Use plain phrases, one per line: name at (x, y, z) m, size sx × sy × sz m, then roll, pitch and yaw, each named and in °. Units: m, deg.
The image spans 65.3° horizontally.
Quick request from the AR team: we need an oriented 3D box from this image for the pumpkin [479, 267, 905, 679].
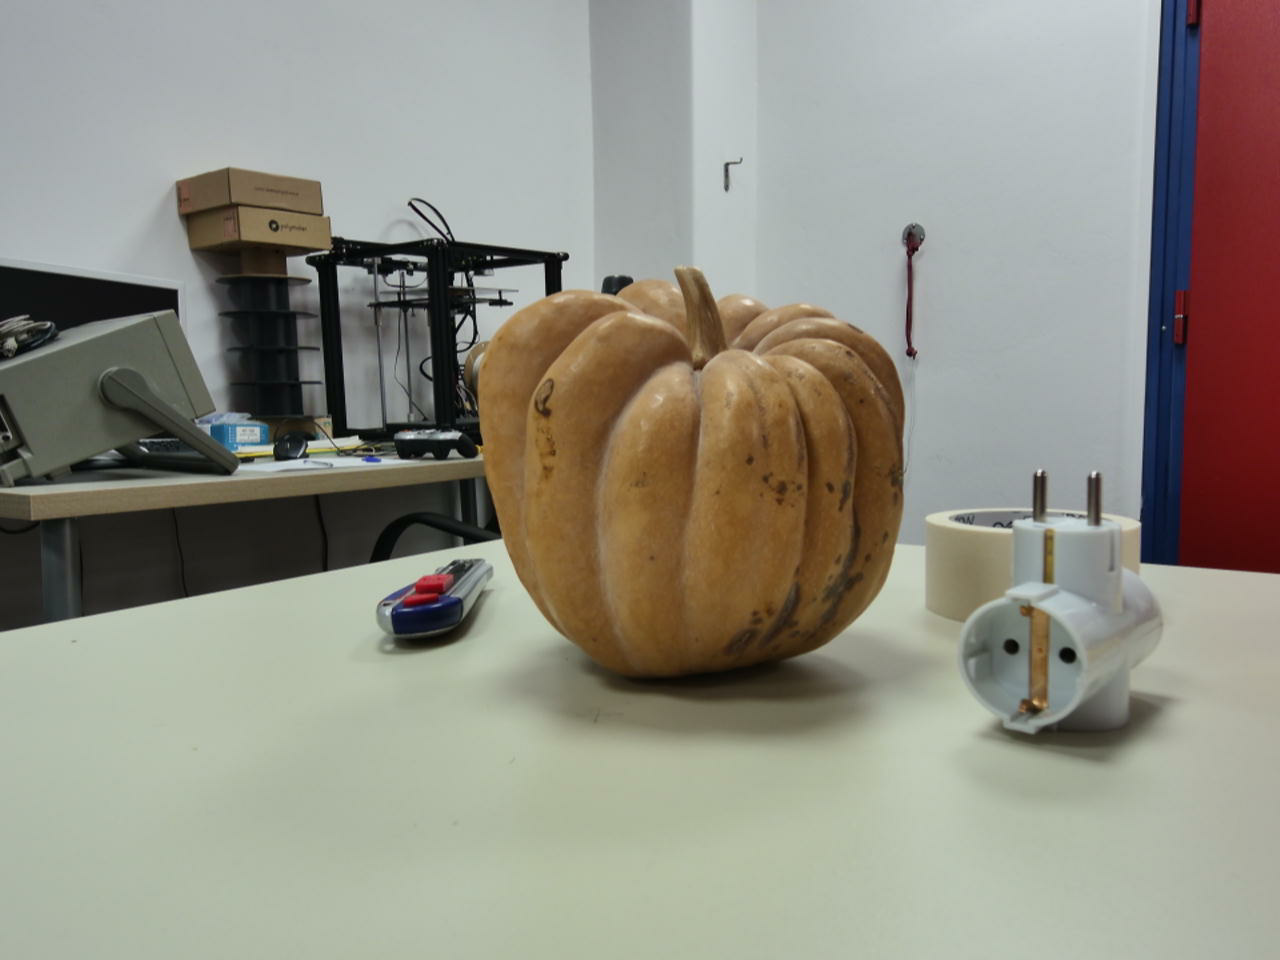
pumpkin at (0.022, -0.005, 0.451) m, size 0.199 × 0.177 × 0.198 m, roll 0°, pitch 3°, yaw 0°
